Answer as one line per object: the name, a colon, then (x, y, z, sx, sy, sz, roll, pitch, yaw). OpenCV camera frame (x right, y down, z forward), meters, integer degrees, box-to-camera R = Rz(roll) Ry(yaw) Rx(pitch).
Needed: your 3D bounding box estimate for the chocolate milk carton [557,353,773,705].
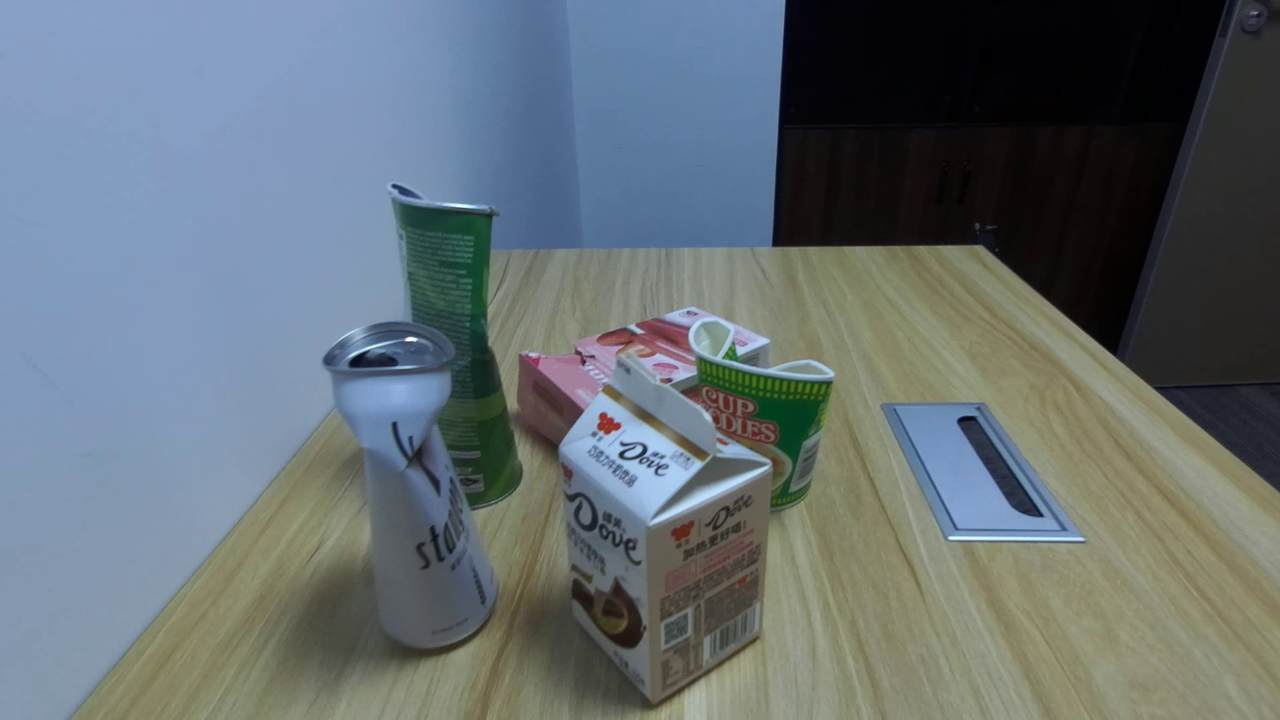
chocolate milk carton: (0.012, 0.074, 0.338, 0.074, 0.148, 0.075, -19, 30, -31)

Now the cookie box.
cookie box: (0.008, 0.015, 0.559, 0.187, 0.059, 0.104, -18, 34, -35)

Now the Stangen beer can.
Stangen beer can: (-0.111, 0.067, 0.351, 0.076, 0.162, 0.066, 18, 33, 36)

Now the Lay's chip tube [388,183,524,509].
Lay's chip tube: (-0.118, -0.005, 0.444, 0.077, 0.201, 0.069, 4, 27, 6)

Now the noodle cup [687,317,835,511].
noodle cup: (0.076, 0.032, 0.448, 0.075, 0.122, 0.082, -10, 38, 1)
